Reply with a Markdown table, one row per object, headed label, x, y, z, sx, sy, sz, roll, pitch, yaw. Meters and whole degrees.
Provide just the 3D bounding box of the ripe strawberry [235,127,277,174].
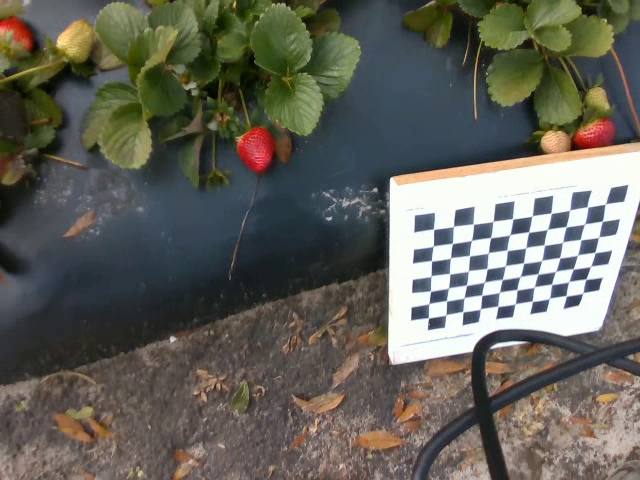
| label | x | y | z | sx | sy | sz | roll | pitch | yaw |
| --- | --- | --- | --- | --- | --- | --- | --- | --- | --- |
| ripe strawberry | -0.071 | -0.096 | 0.714 | 0.050 | 0.053 | 0.049 | -16 | -31 | -2 |
